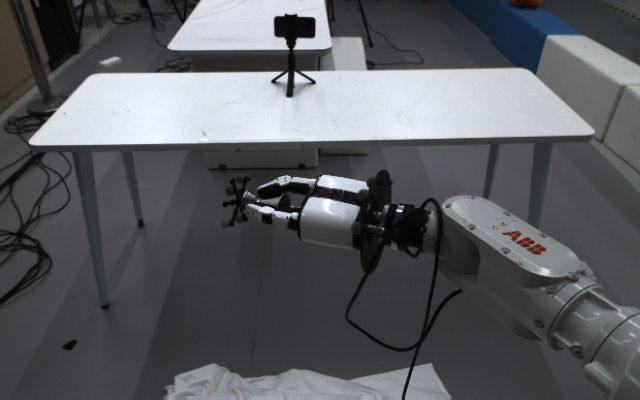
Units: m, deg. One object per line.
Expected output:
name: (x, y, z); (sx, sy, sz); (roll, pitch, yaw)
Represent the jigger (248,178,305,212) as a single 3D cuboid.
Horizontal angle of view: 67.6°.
jigger: (-0.083, 0.004, 0.782); (0.071, 0.043, 0.043); (7, 34, 23)
